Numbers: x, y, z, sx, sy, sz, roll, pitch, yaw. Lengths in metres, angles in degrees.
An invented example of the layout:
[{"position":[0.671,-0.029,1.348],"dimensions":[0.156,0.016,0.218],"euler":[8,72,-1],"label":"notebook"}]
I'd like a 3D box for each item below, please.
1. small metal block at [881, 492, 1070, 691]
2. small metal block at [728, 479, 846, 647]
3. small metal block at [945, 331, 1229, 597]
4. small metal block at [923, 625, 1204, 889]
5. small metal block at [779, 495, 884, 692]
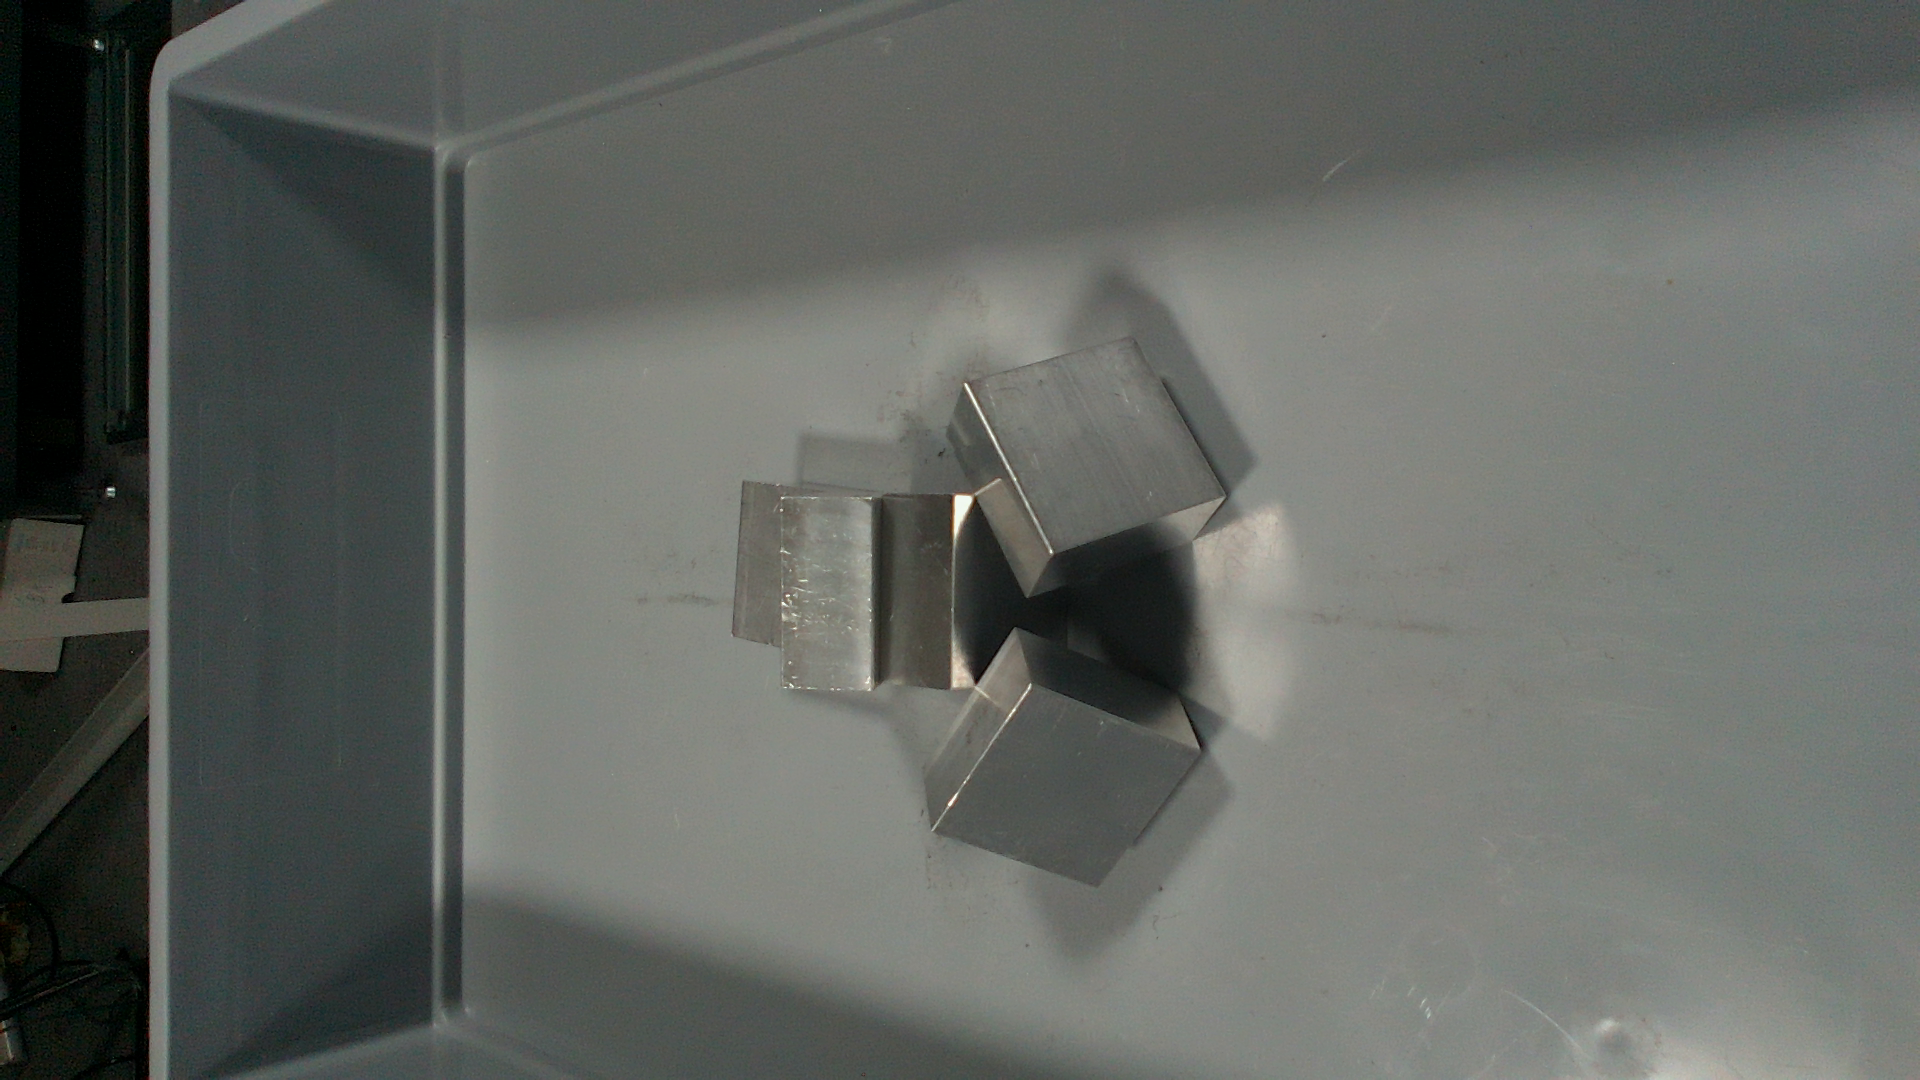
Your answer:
[{"position":[0.005,0.013,0.373],"dimensions":[0.025,0.050,0.050],"euler":[1,91,40],"label":"small metal block"},{"position":[-0.045,0.008,0.430],"dimensions":[0.050,0.025,0.050],"euler":[8,95,40],"label":"small metal block"},{"position":[0.031,-0.020,0.347],"dimensions":[0.050,0.050,0.025],"euler":[64,157,20],"label":"small metal block"},{"position":[0.025,0.056,0.352],"dimensions":[0.050,0.050,0.025],"euler":[-58,22,23],"label":"small metal block"},{"position":[-0.030,0.013,0.379],"dimensions":[0.025,0.050,0.050],"euler":[1,94,9],"label":"small metal block"}]
